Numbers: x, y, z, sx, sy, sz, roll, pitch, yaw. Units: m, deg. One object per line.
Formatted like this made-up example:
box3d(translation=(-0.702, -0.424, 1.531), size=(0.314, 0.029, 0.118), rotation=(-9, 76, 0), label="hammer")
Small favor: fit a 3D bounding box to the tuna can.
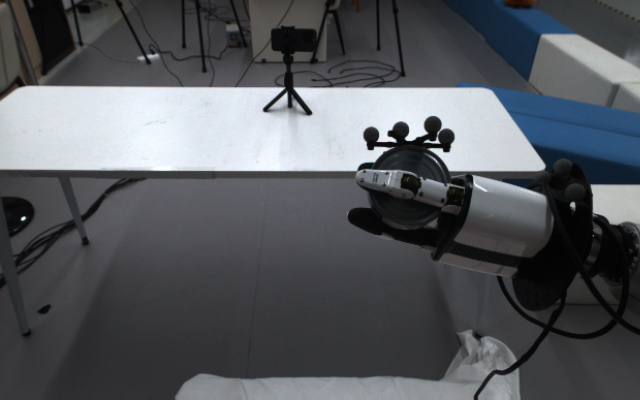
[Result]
box3d(translation=(0.093, -0.014, 0.509), size=(0.085, 0.034, 0.085), rotation=(-1, 75, 4), label="tuna can")
